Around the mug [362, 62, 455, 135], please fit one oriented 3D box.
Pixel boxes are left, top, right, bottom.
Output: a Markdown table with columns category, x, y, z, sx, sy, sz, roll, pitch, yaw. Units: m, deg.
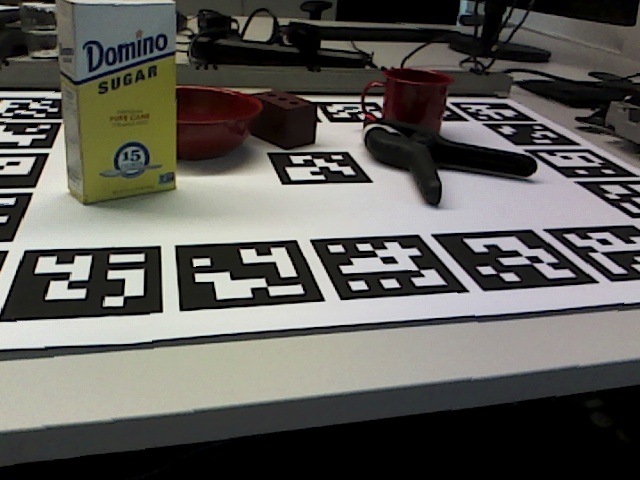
| category | x | y | z | sx | sy | sz | roll | pitch | yaw |
| --- | --- | --- | --- | --- | --- | --- | --- | --- | --- |
| mug | 0.114 | -0.189 | 0.832 | 0.117 | 0.081 | 0.093 | 14 | 30 | 6 |

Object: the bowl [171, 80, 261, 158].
| category | x | y | z | sx | sy | sz | roll | pitch | yaw |
| --- | --- | --- | --- | --- | --- | --- | --- | --- | --- |
| bowl | -0.151 | -0.139 | 0.725 | 0.161 | 0.055 | 0.162 | 5 | 30 | -4 |

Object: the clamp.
| category | x | y | z | sx | sy | sz | roll | pitch | yaw |
| --- | --- | --- | --- | --- | --- | --- | --- | --- | --- |
| clamp | 0.111 | -0.107 | 0.727 | 0.164 | 0.036 | 0.204 | -18 | 39 | -33 |

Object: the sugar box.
| category | x | y | z | sx | sy | sz | roll | pitch | yaw |
| --- | --- | --- | --- | --- | --- | --- | --- | --- | --- |
| sugar box | -0.184 | -0.121 | 0.566 | 0.092 | 0.176 | 0.045 | -17 | 39 | -37 |

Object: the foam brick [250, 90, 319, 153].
| category | x | y | z | sx | sy | sz | roll | pitch | yaw |
| --- | --- | --- | --- | --- | --- | --- | --- | --- | --- |
| foam brick | -0.046 | -0.150 | 0.780 | 0.052 | 0.051 | 0.078 | -20 | 40 | -37 |
